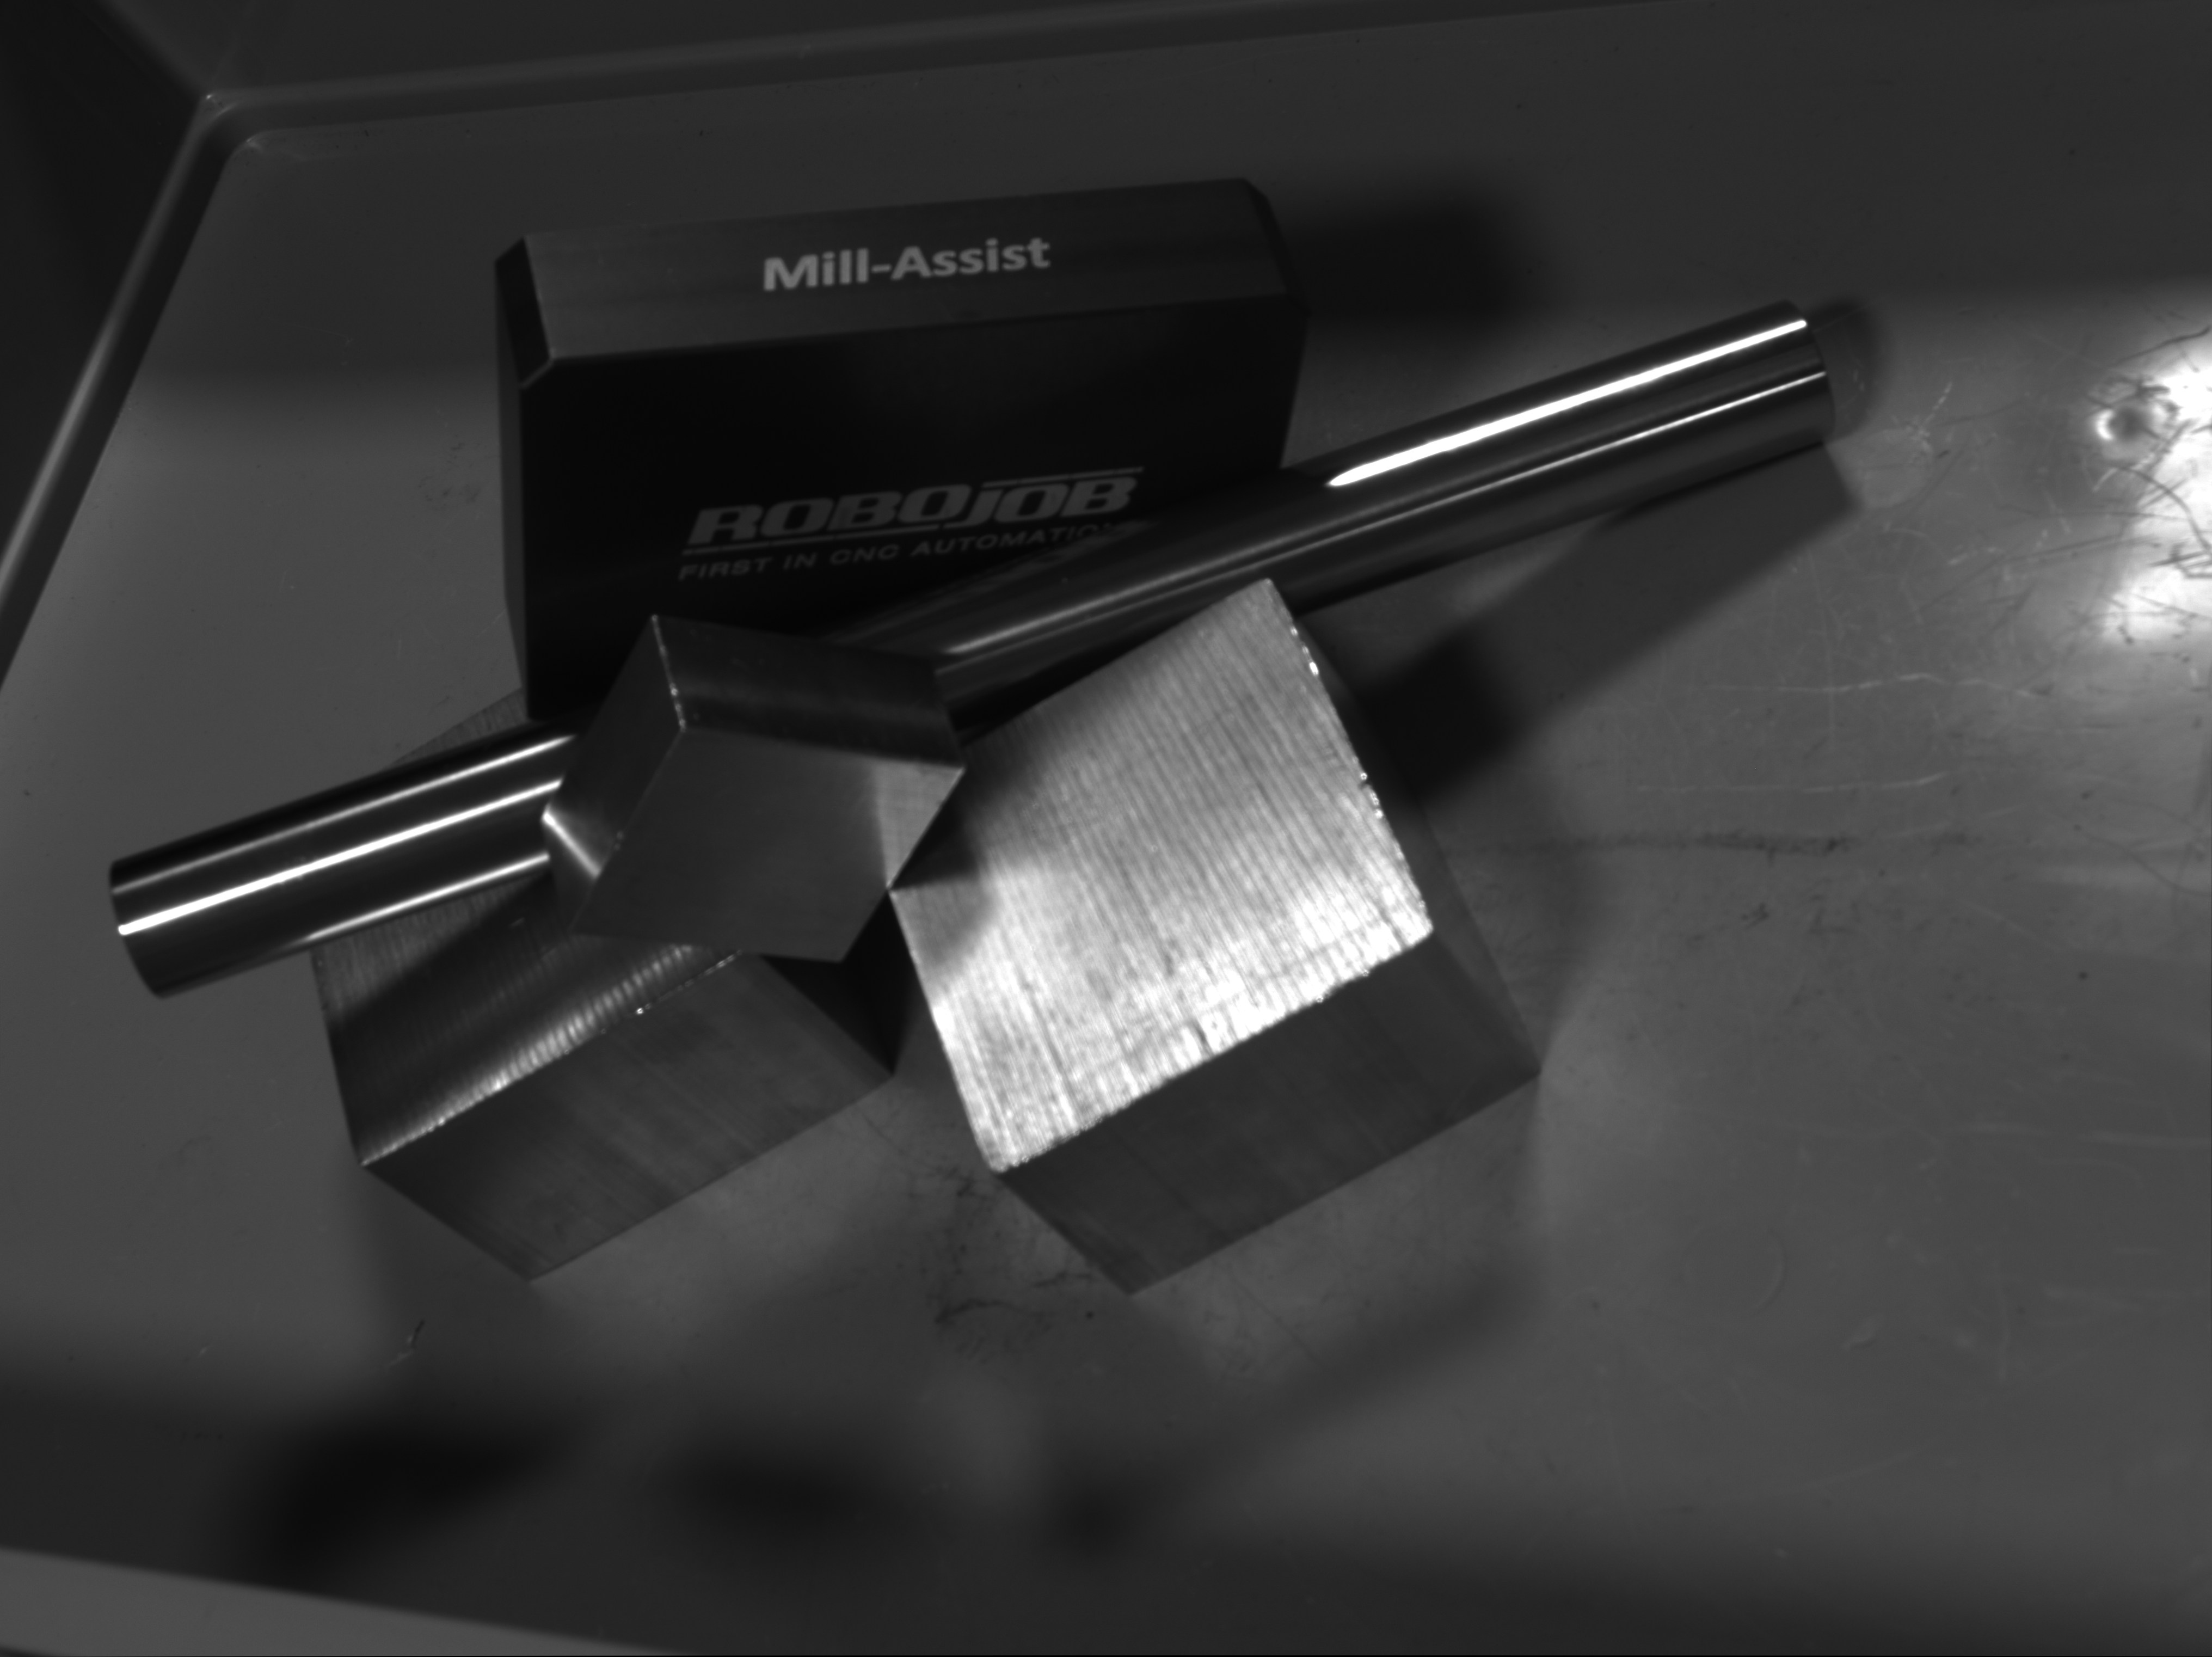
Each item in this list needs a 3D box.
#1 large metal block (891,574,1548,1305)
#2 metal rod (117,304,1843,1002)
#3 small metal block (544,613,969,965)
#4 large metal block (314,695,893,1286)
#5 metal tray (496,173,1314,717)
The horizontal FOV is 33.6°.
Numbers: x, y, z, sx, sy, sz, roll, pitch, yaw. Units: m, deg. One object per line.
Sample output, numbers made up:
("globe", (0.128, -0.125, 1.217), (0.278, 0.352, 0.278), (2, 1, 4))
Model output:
("large metal block", (0.015, 0.018, 0.607), (0.080, 0.050, 0.080), (-30, 52, 9))
("metal rod", (-0.021, -0.030, 0.625), (0.300, 0.025, 0.025), (-19, 53, -1))
("small metal block", (-0.058, -0.005, 0.599), (0.050, 0.050, 0.025), (-55, 39, 38))
("large metal block", (-0.094, 0.022, 0.661), (0.080, 0.050, 0.080), (-30, 52, 9))
("metal tray", (-0.036, -0.064, 0.625), (0.130, 0.090, 0.030), (-7, 53, -14))
